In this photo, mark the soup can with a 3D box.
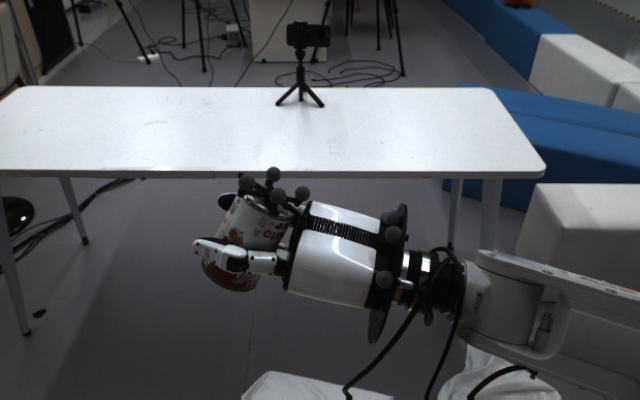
[{"bbox_3d":[-0.078,0.042,0.534,0.067,0.101,0.067,27,18,-9],"label":"soup can"}]
